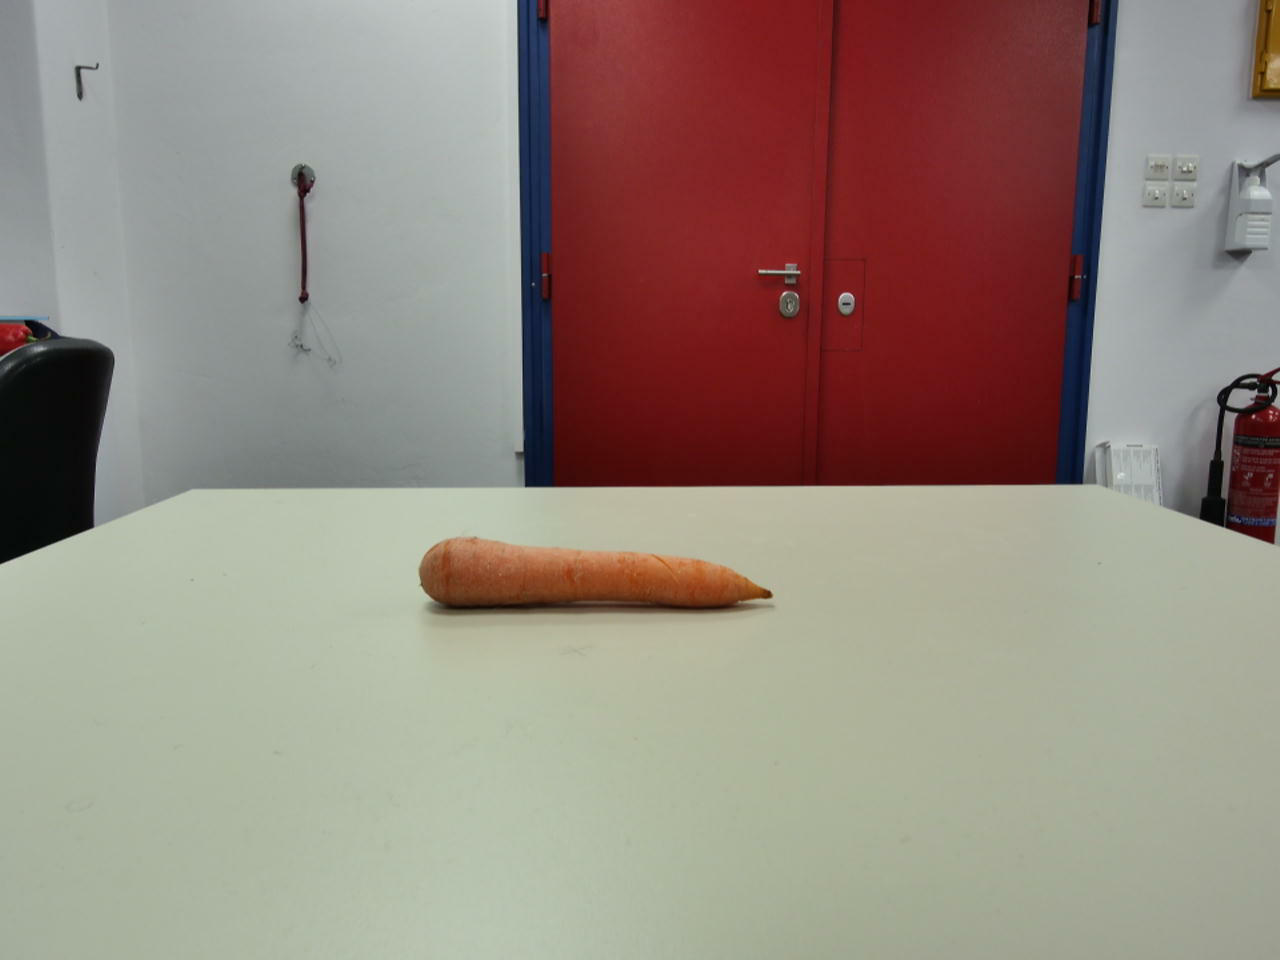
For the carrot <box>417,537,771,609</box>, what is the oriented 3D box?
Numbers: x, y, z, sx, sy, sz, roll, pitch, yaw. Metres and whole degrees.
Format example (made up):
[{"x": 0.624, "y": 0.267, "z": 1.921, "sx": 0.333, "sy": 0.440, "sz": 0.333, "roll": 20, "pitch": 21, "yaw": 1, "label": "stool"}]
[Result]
[{"x": -0.025, "y": 0.052, "z": 0.558, "sx": 0.196, "sy": 0.041, "sz": 0.039, "roll": -1, "pitch": 7, "yaw": -1, "label": "carrot"}]
